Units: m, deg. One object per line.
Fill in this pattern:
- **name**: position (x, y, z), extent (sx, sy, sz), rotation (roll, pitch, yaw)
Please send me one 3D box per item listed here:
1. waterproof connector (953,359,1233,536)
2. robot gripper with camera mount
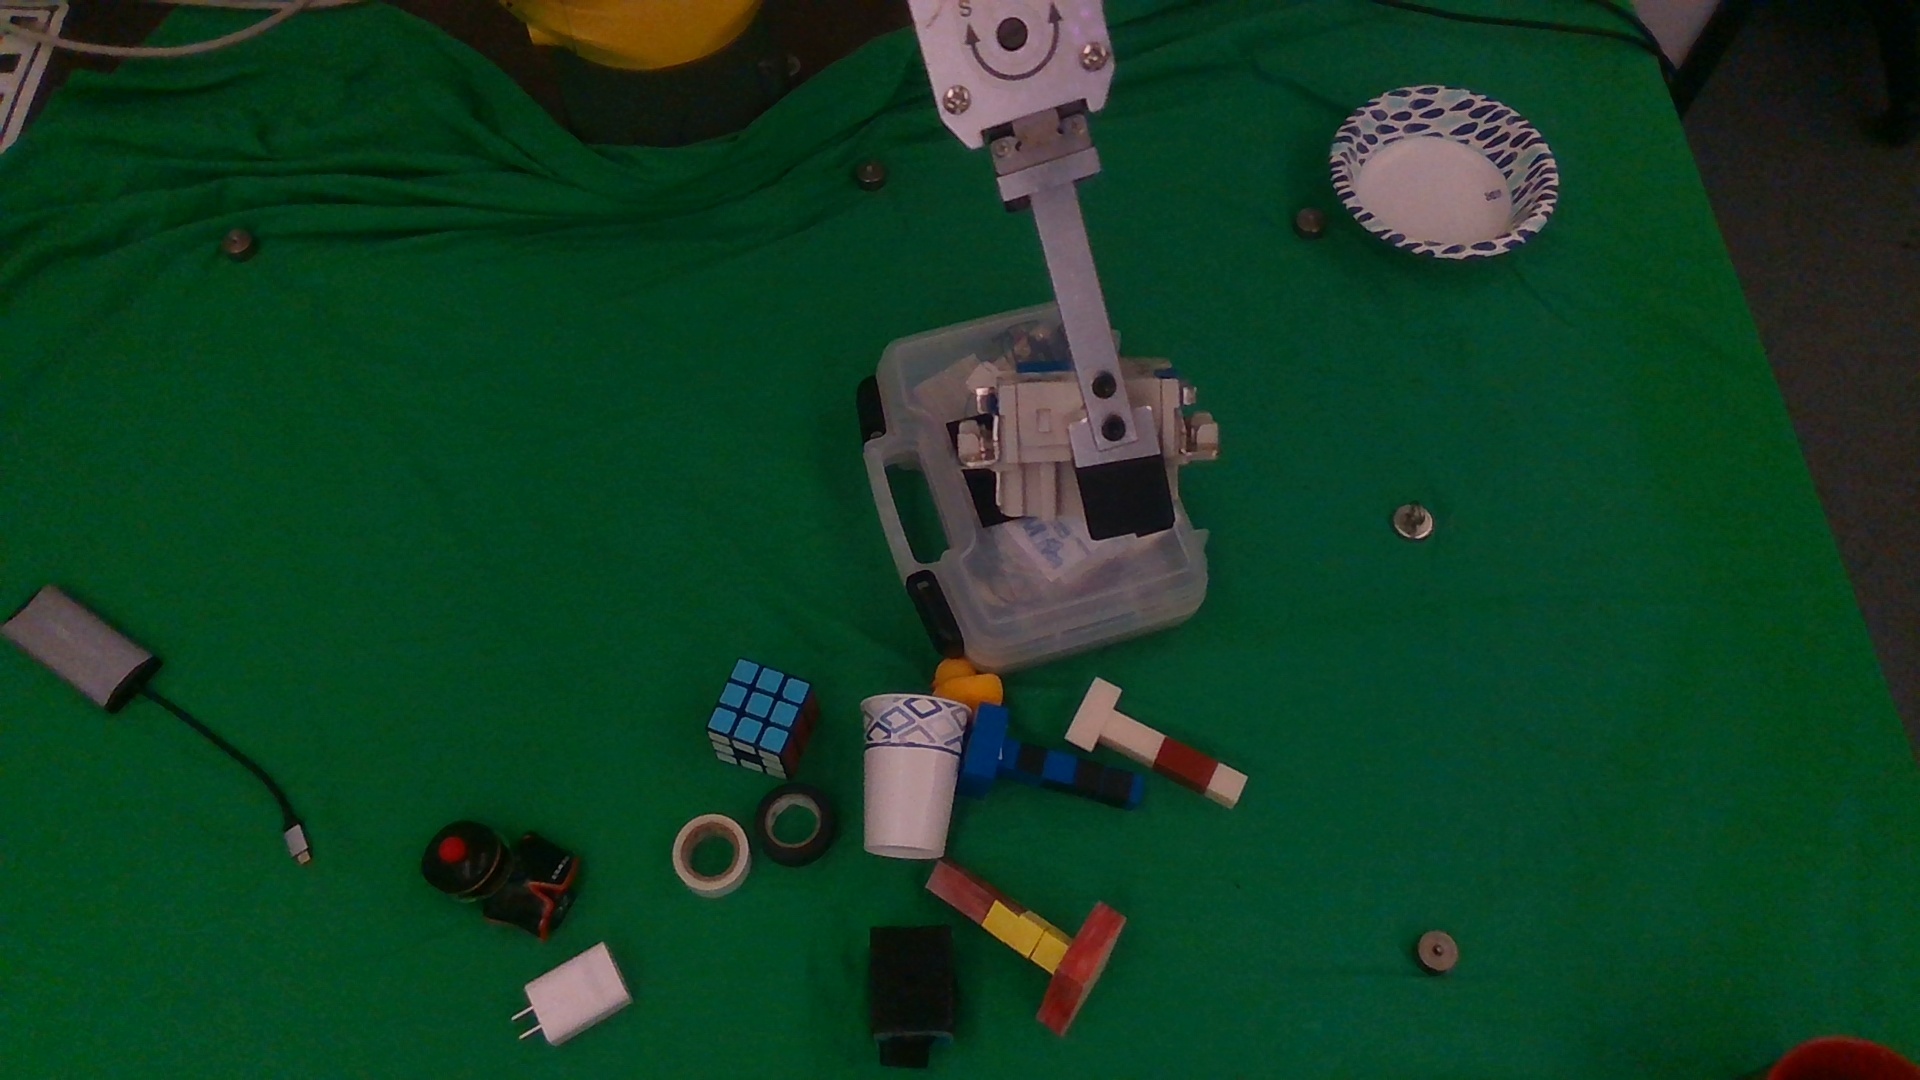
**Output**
- **waterproof connector**: position (0.031, -0.023, 0.336), extent (0.065, 0.035, 0.037), rotation (-3, 107, 1)
- **robot gripper with camera mount**: position (0.093, -0.095, 0.312), extent (0.193, 0.158, 0.119), rotation (-12, 21, 5)
